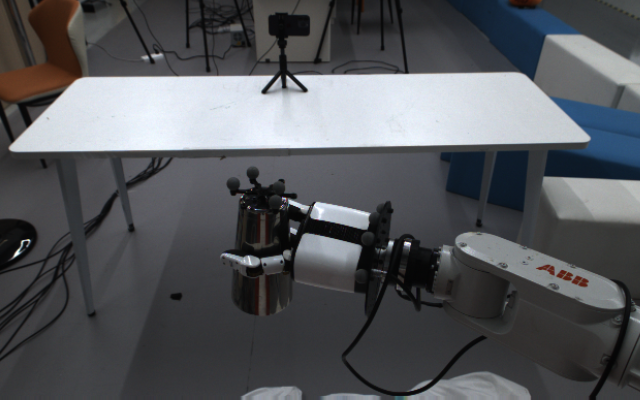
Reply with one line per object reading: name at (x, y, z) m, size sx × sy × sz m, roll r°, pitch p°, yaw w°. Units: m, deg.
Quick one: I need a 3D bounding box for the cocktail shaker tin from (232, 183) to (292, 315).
cocktail shaker tin at (-0.081, 0.069, 0.686) m, size 0.093 × 0.170 × 0.093 m, roll 4°, pitch 32°, yaw -2°
